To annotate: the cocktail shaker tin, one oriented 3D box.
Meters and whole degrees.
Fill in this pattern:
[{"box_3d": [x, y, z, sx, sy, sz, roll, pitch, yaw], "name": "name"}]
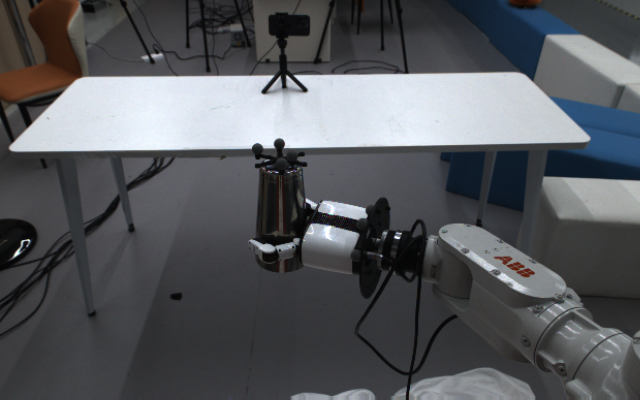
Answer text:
[{"box_3d": [-0.062, 0.020, 0.780, 0.093, 0.170, 0.093, 1, 28, -1], "name": "cocktail shaker tin"}]
